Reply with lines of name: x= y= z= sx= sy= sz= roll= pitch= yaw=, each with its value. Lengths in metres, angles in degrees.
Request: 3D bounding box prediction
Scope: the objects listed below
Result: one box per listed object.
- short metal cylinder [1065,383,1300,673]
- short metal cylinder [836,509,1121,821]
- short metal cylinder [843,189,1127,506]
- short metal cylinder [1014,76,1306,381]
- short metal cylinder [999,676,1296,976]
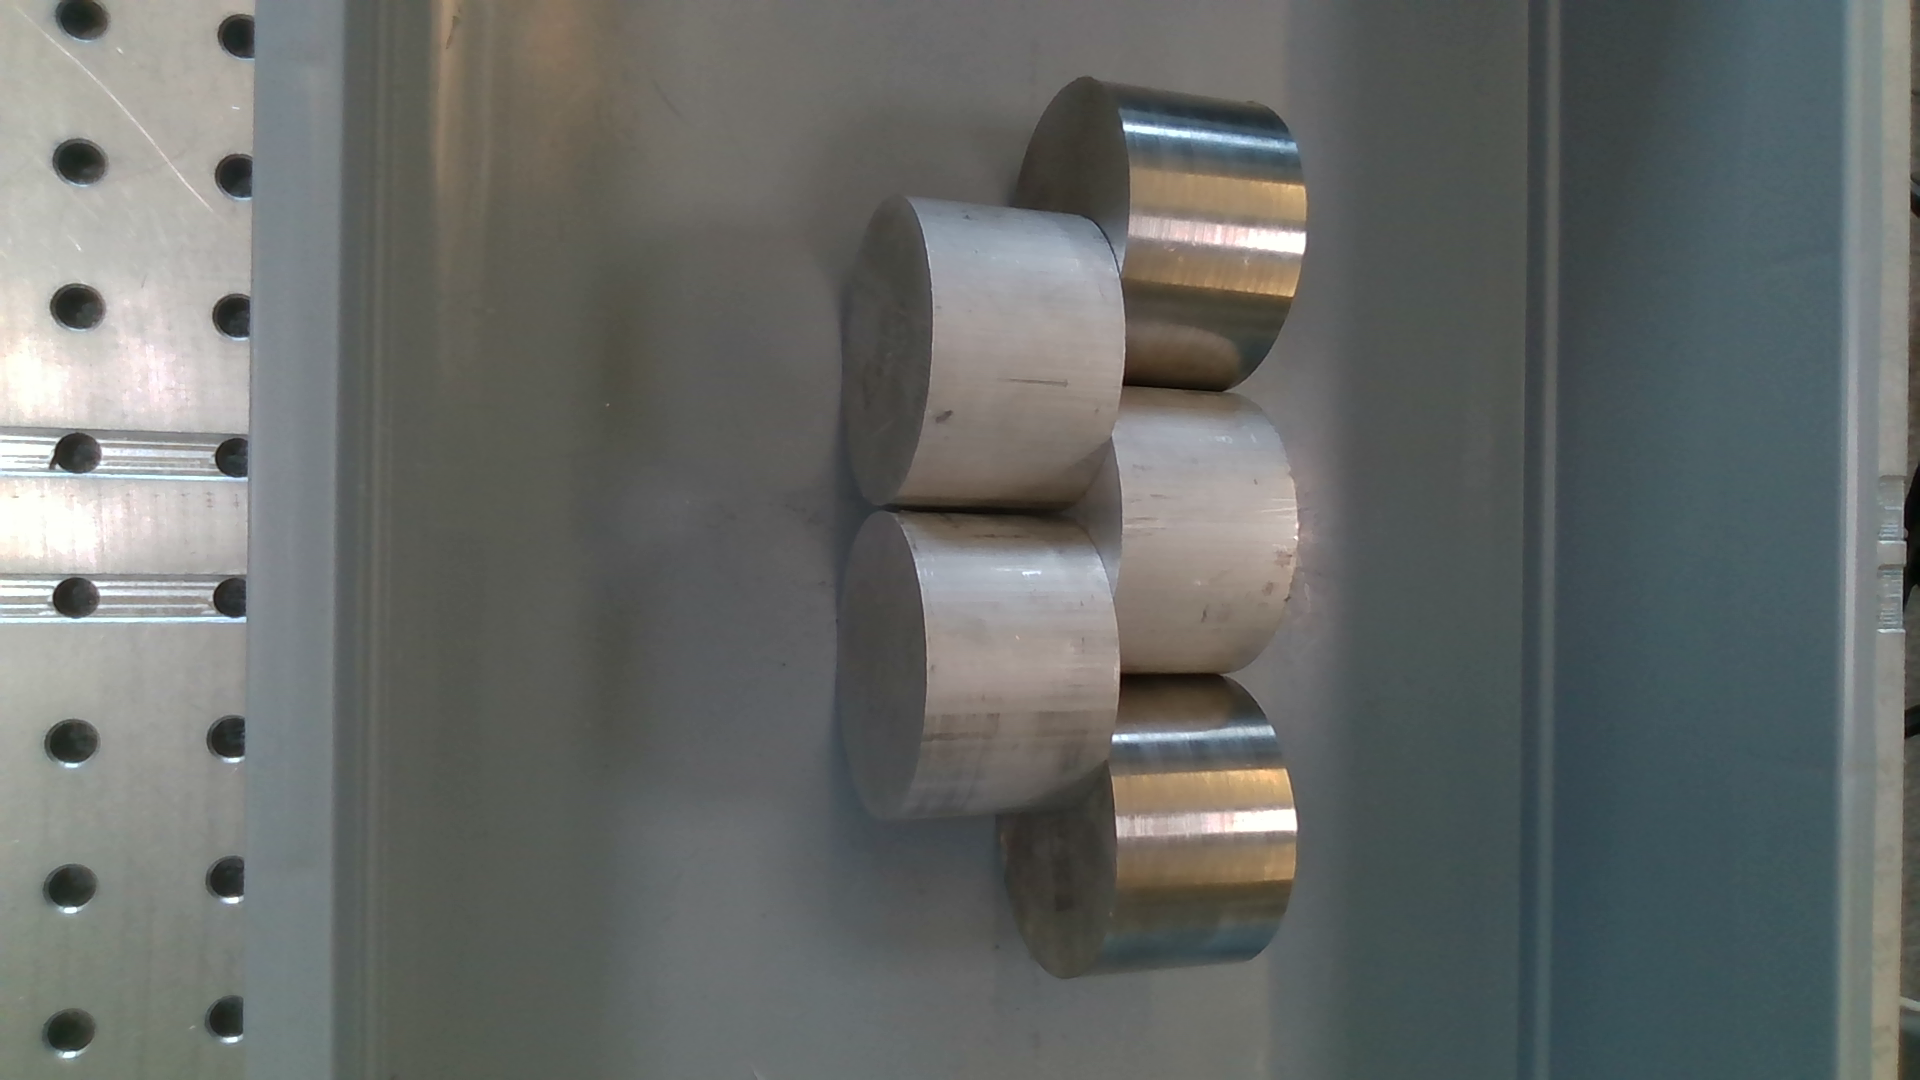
short metal cylinder: x=0.050 y=-0.003 z=0.382 sx=0.050 sy=0.080 sz=0.080 roll=1 pitch=90 yaw=-20
short metal cylinder: x=0.002 y=0.032 z=0.364 sx=0.050 sy=0.080 sz=0.080 roll=1 pitch=90 yaw=-20
short metal cylinder: x=0.004 y=-0.049 z=0.365 sx=0.050 sy=0.080 sz=0.080 roll=1 pitch=90 yaw=-20
short metal cylinder: x=0.052 y=-0.084 z=0.382 sx=0.050 sy=0.080 sz=0.080 roll=1 pitch=90 yaw=-20
short metal cylinder: x=0.049 y=0.077 z=0.382 sx=0.050 sy=0.080 sz=0.080 roll=2 pitch=89 yaw=-20
